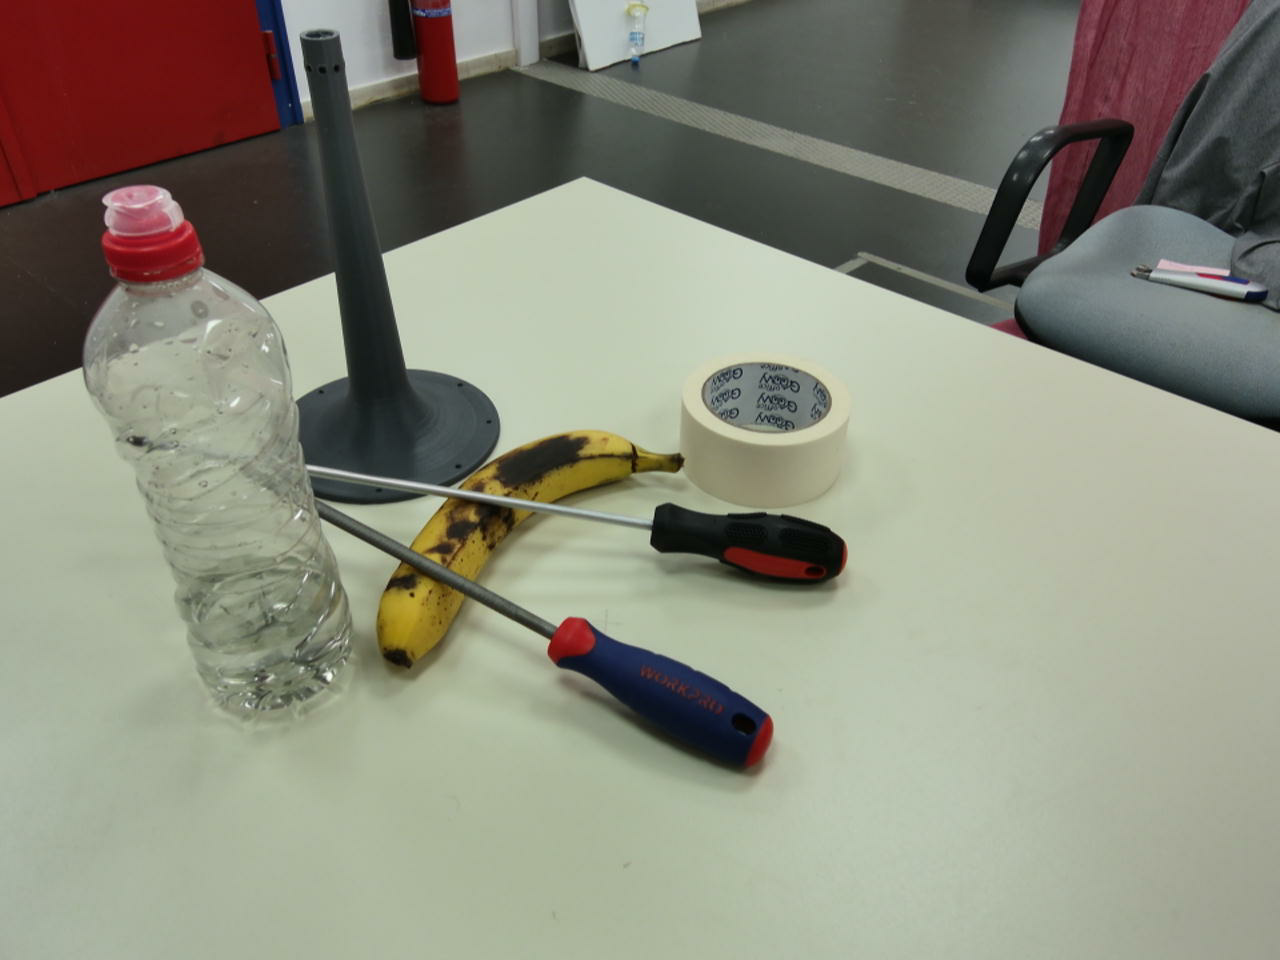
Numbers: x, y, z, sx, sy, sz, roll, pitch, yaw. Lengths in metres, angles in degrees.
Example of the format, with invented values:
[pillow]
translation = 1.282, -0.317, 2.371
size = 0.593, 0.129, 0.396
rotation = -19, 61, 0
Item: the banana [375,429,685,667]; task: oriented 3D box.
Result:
[banana]
translation = -0.074, 0.021, 0.567
size = 0.084, 0.037, 0.222
rotation = 29, 45, 31
